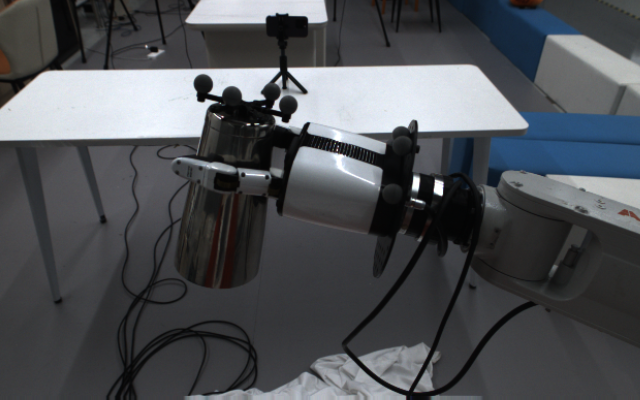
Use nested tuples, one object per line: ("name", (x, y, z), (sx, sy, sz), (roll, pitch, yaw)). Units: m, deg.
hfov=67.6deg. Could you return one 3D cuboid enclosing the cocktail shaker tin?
("cocktail shaker tin", (-0.088, -0.008, 0.493), (0.093, 0.170, 0.093), (12, 25, -6))
